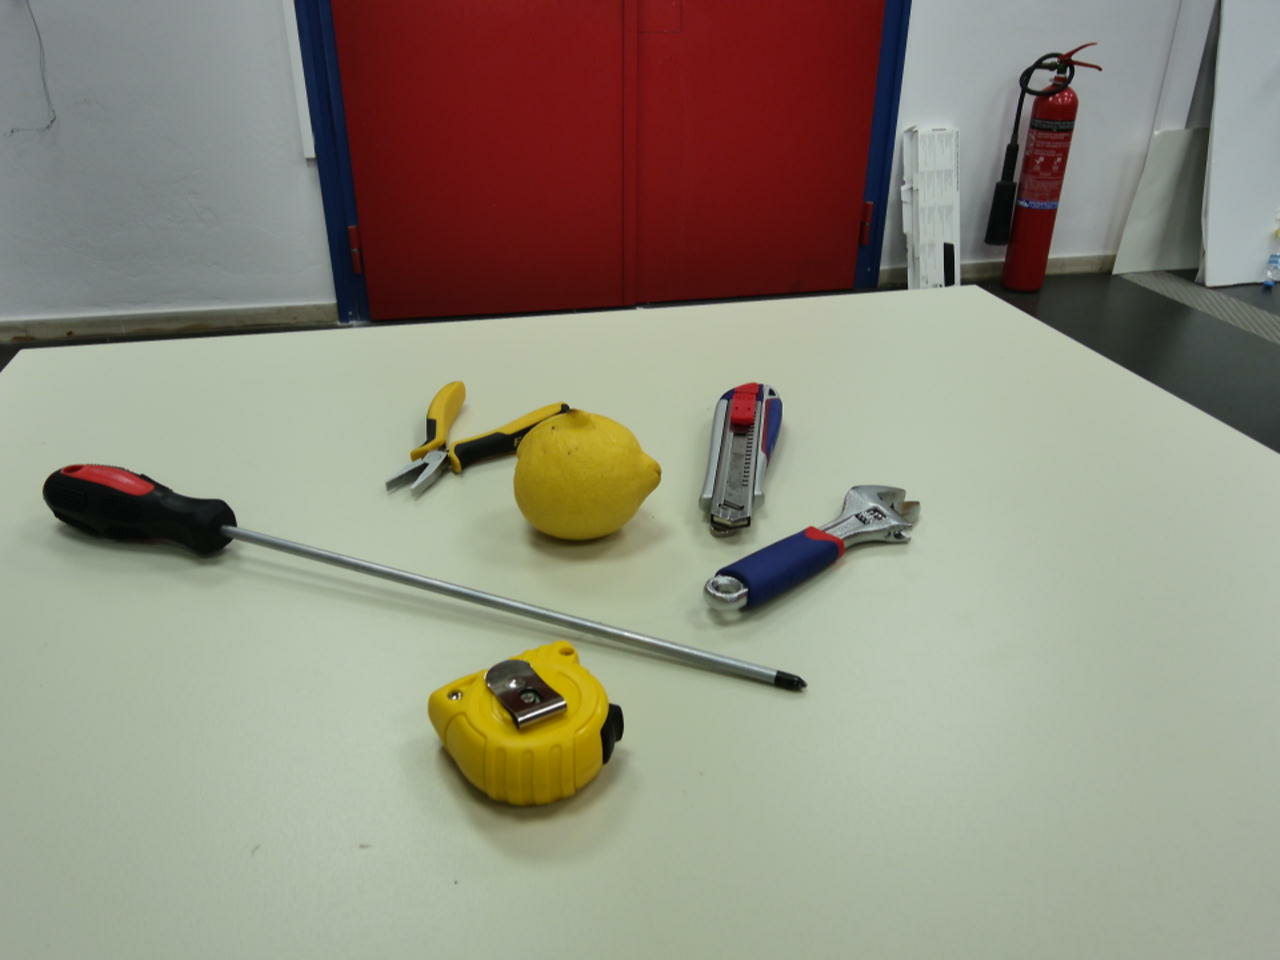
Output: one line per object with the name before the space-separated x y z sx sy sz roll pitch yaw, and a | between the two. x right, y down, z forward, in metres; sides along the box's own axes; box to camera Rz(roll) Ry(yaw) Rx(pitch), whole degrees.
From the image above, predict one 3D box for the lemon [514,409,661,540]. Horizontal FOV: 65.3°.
lemon | -0.032 -0.005 0.522 0.071 0.071 0.070 23 34 38
